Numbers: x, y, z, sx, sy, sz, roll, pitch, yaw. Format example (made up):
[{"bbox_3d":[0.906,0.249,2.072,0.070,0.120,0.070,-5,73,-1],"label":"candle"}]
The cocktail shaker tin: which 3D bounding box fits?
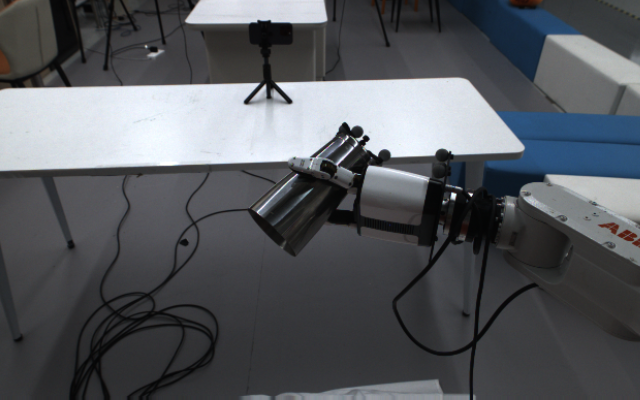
[{"bbox_3d":[-0.008,-0.018,0.675,0.170,0.093,0.093,-43,50,-14],"label":"cocktail shaker tin"}]
